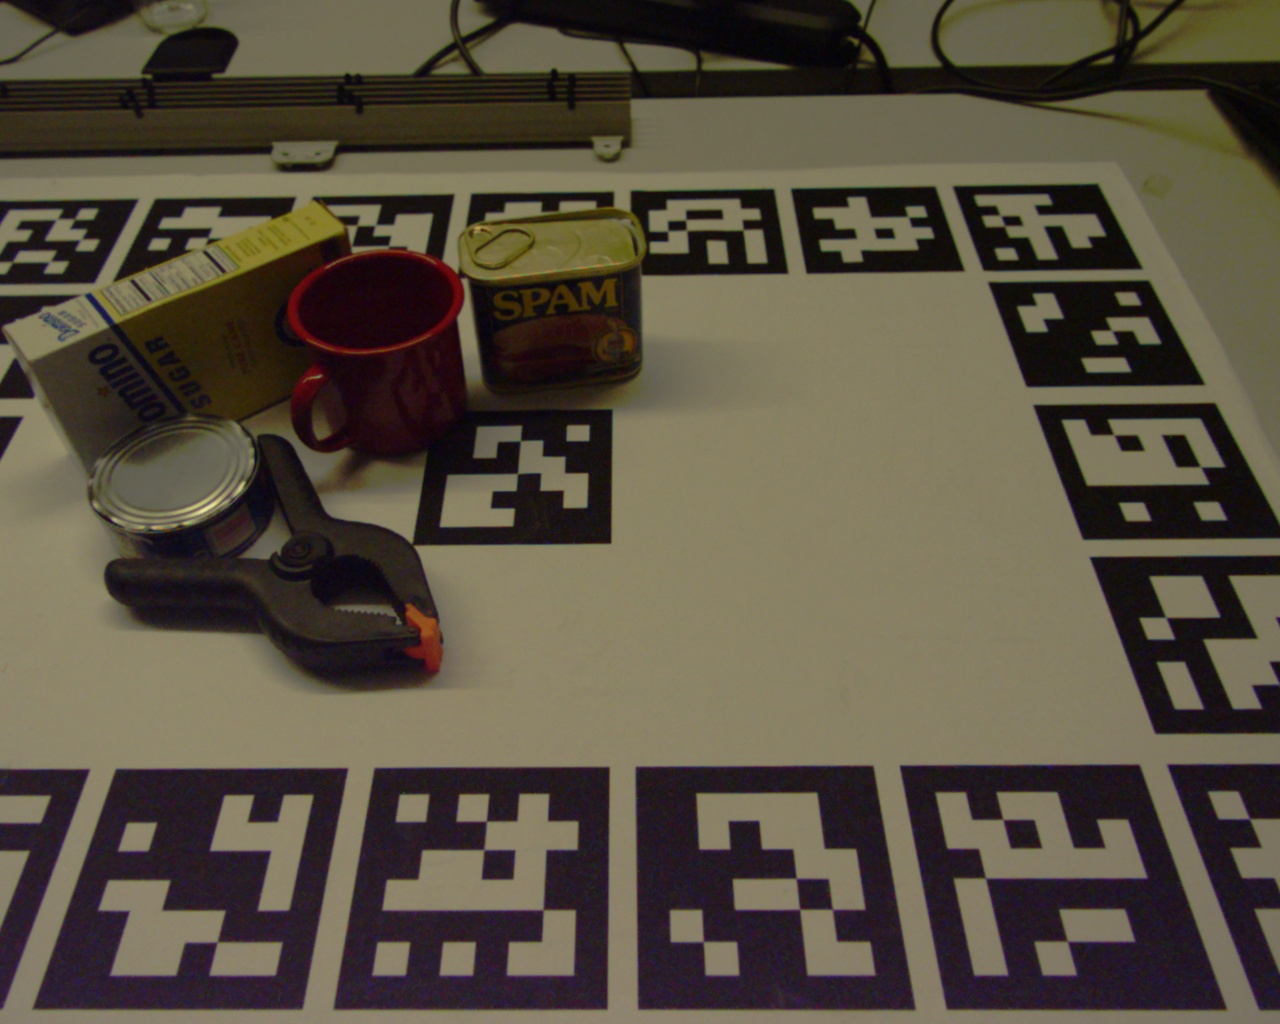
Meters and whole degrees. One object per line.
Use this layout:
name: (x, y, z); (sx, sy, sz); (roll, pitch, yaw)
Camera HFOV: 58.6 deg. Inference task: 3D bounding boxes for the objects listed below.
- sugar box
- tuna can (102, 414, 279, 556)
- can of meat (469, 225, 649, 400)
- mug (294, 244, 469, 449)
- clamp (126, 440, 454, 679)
sugar box: (-0.239, -0.092, 0.656); (0.175, 0.092, 0.046); (-31, 54, -26)
tuna can: (-0.241, -0.011, 0.615); (0.086, 0.033, 0.086); (-1, 50, 0)
can of meat: (-0.048, -0.118, 0.682); (0.101, 0.083, 0.058); (-6, 48, -7)
mug: (-0.147, -0.083, 0.643); (0.094, 0.081, 0.117); (19, 53, 15)
clamp: (-0.162, 0.033, 0.582); (0.166, 0.036, 0.121); (29, 51, 19)
